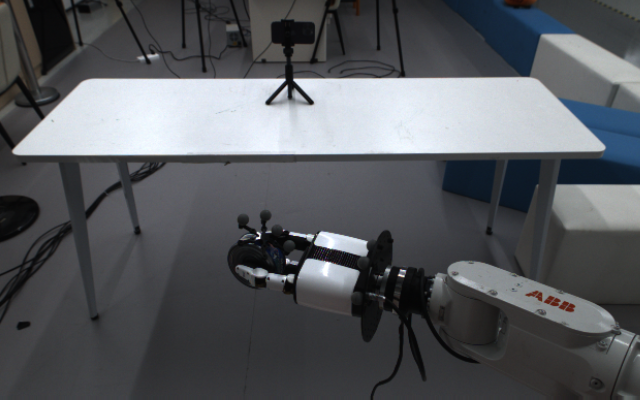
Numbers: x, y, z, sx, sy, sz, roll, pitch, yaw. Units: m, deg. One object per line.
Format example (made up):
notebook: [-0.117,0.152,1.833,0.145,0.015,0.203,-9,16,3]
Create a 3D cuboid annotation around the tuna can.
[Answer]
tuna can: [-0.094,0.100,0.735,0.085,0.085,0.034,15,30,18]
